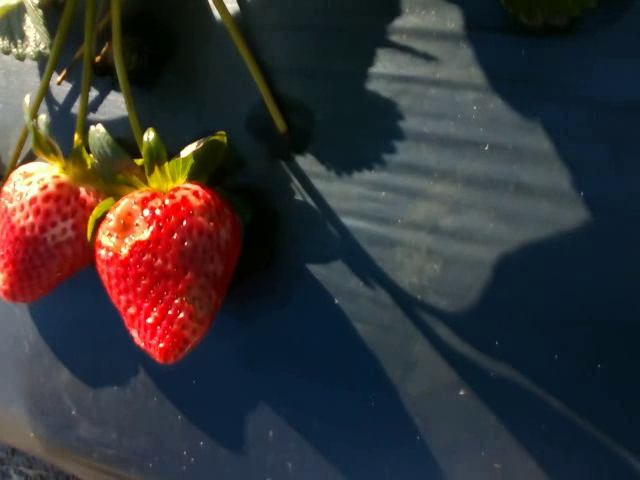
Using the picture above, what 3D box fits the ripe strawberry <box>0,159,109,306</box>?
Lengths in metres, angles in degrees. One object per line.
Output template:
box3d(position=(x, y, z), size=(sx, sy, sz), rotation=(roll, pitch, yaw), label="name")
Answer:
box3d(position=(-0.095, -0.002, 0.198), size=(0.050, 0.061, 0.043), rotation=(29, 0, -5), label="ripe strawberry")

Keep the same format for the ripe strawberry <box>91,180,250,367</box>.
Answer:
box3d(position=(-0.046, 0.012, 0.180), size=(0.051, 0.067, 0.056), rotation=(11, -32, -38), label="ripe strawberry")
